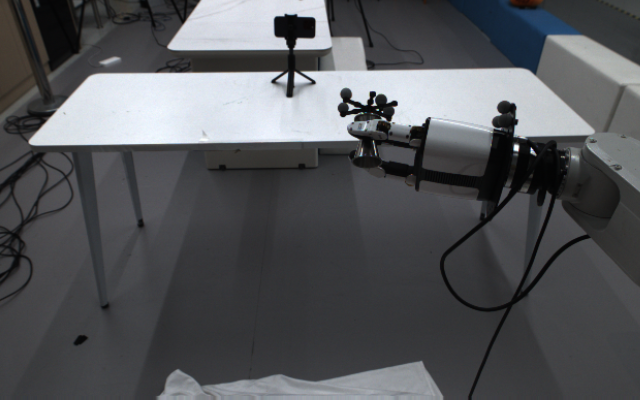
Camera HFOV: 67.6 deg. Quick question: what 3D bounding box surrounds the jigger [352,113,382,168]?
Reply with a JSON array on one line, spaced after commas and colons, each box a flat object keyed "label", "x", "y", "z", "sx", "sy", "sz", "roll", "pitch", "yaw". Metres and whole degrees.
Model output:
[{"label": "jigger", "x": 0.066, "y": -0.087, "z": 0.690, "sx": 0.043, "sy": 0.043, "sz": 0.071, "roll": 3, "pitch": 72, "yaw": 1}]
